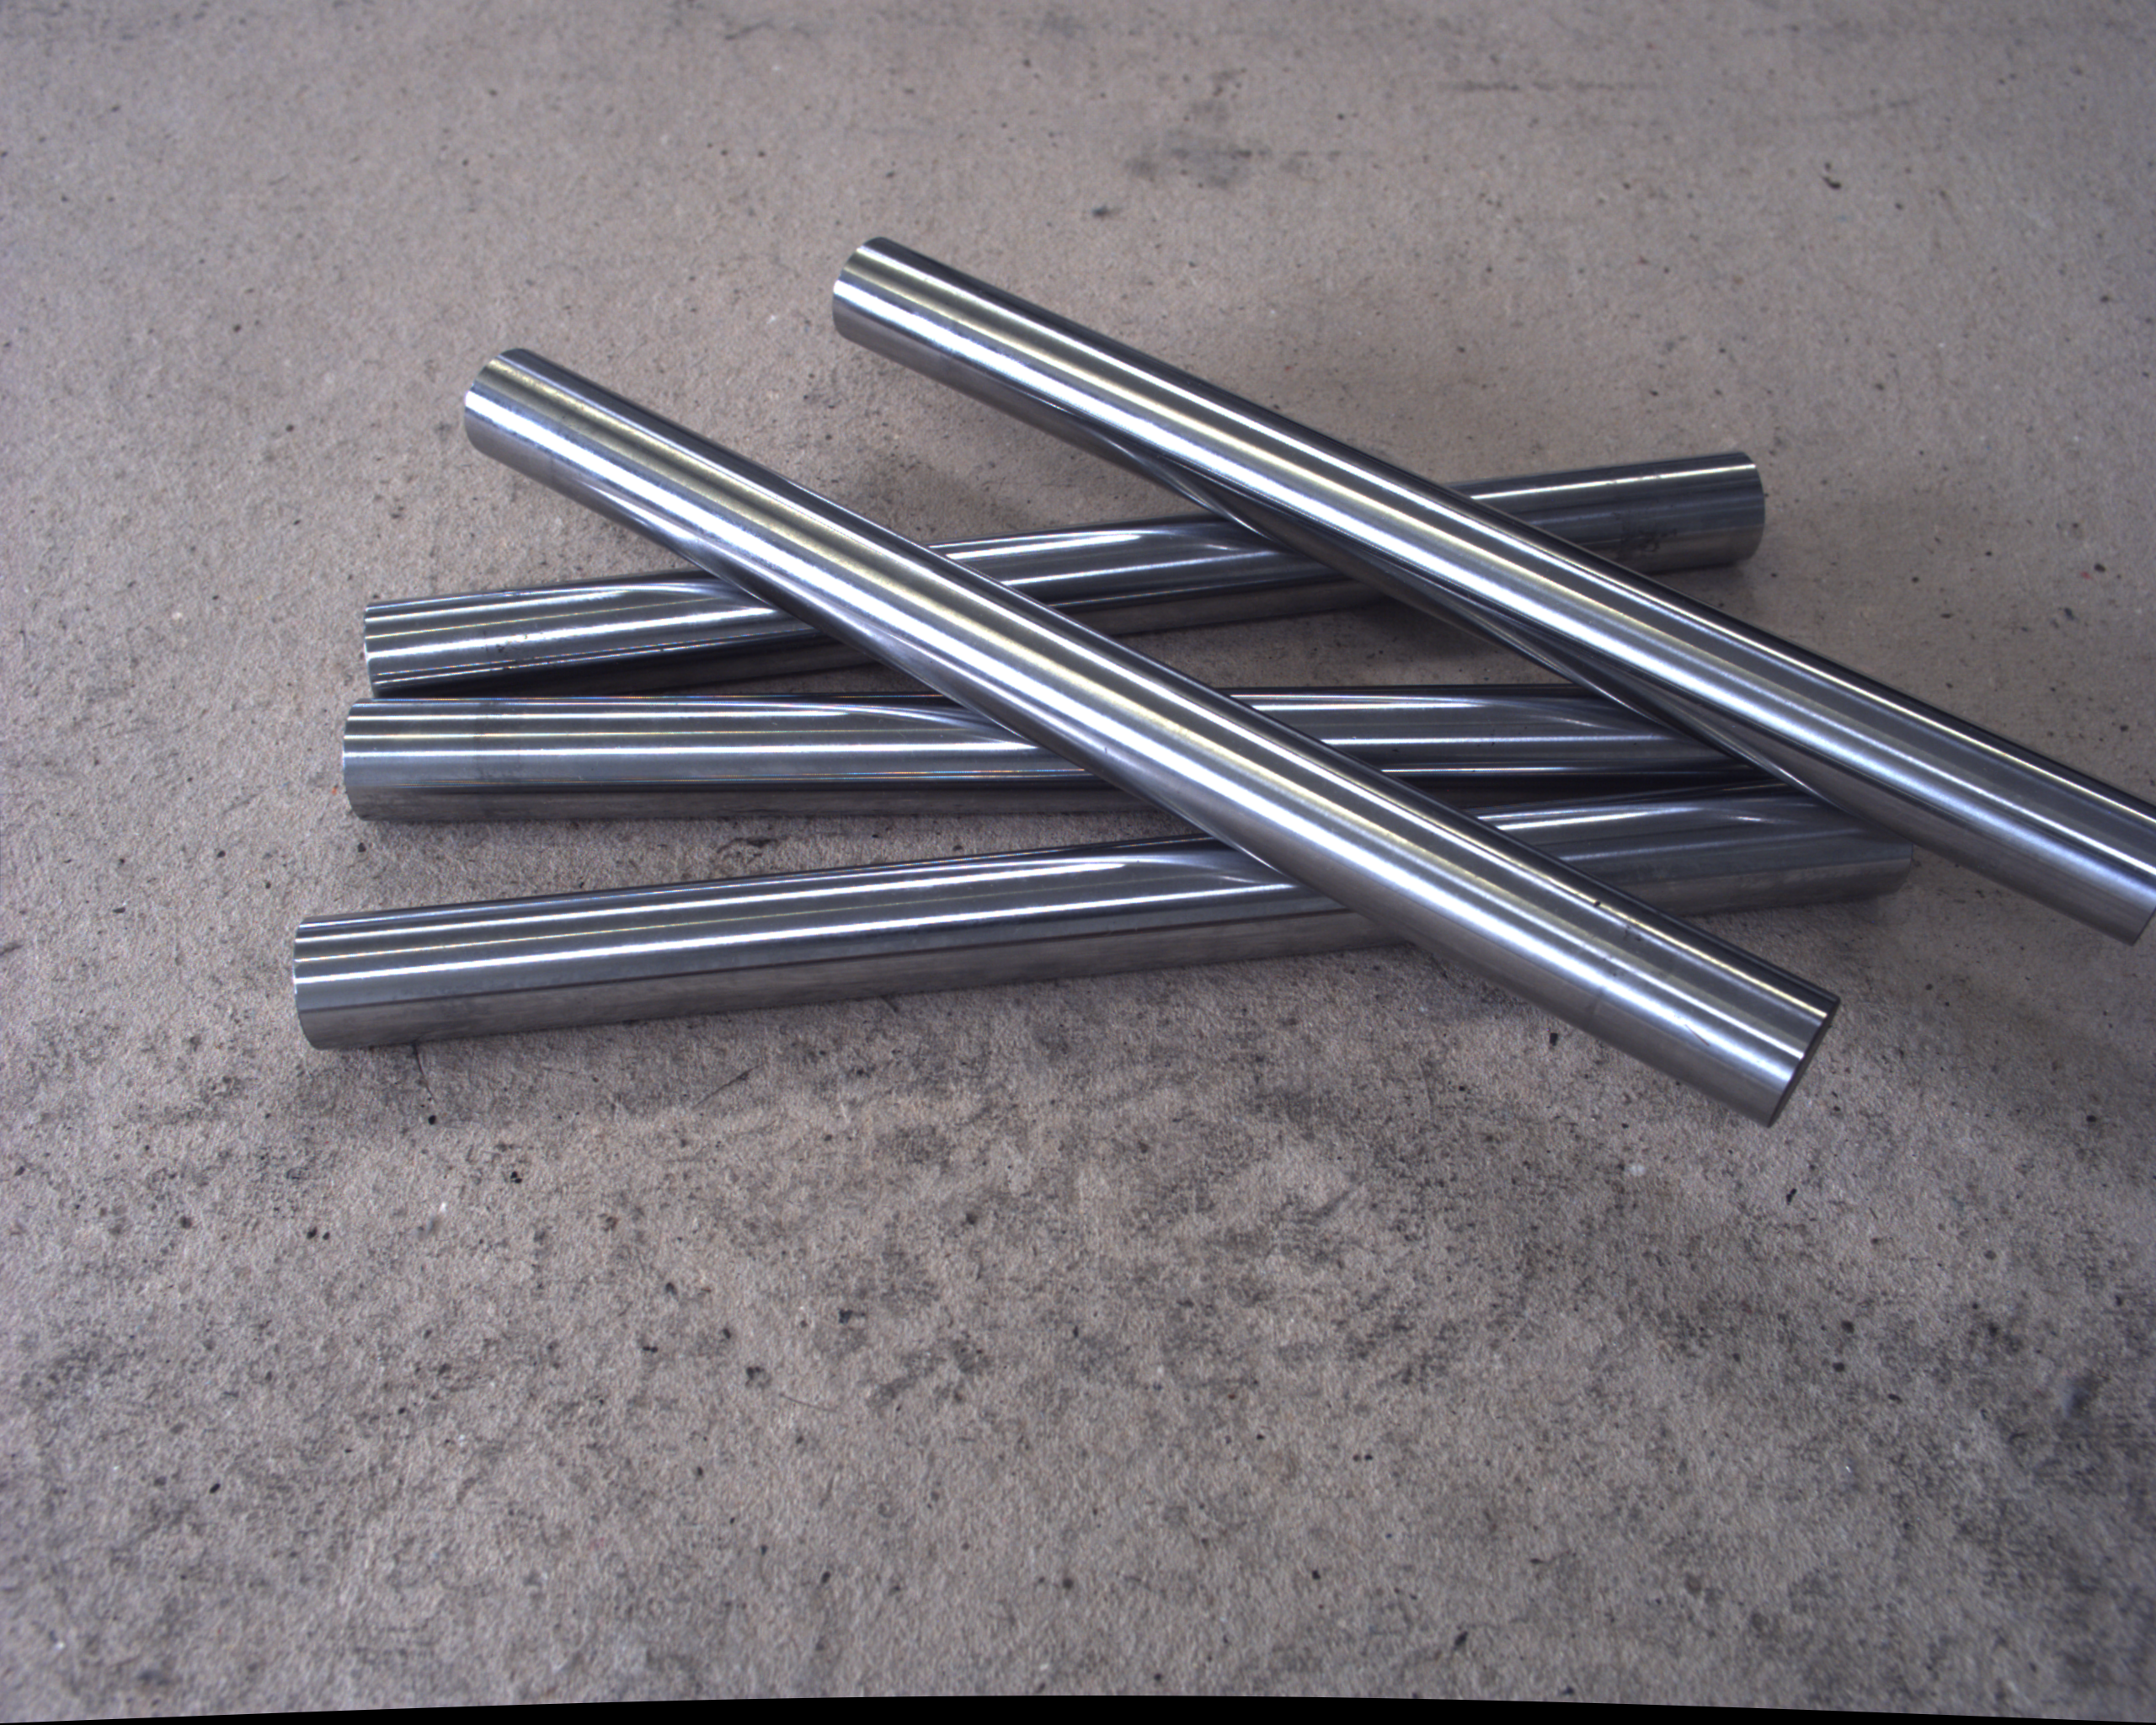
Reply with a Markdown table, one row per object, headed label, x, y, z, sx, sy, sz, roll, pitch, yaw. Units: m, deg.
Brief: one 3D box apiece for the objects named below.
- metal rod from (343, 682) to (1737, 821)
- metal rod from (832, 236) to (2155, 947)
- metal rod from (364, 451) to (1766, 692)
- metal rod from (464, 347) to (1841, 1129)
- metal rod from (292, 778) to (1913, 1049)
| label | x | y | z | sx | sy | sz | roll | pitch | yaw |
| --- | --- | --- | --- | --- | --- | --- | --- | --- | --- |
| metal rod | 0.007 | -0.023 | 0.424 | 0.302 | 0.025 | 0.025 | -1 | 50 | -1 |
| metal rod | 0.072 | -0.064 | 0.427 | 0.300 | 0.025 | 0.025 | 29 | 56 | 22 |
| metal rod | 0.002 | -0.062 | 0.456 | 0.302 | 0.025 | 0.025 | -7 | 51 | -7 |
| metal rod | -0.002 | -0.034 | 0.401 | 0.300 | 0.025 | 0.025 | 29 | 56 | 22 |
| metal rod | 0.009 | 0.008 | 0.398 | 0.302 | 0.025 | 0.025 | -5 | 50 | -5 |
